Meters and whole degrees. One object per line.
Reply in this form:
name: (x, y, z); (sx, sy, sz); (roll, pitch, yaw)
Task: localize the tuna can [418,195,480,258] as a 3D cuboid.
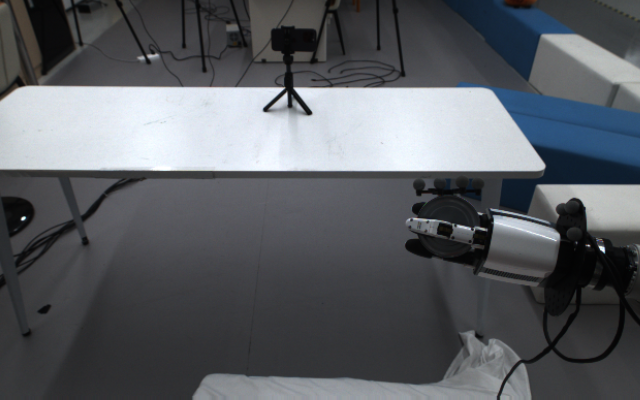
tuna can: (0.180, 0.034, 0.676); (0.085, 0.085, 0.034); (16, 1, 19)
